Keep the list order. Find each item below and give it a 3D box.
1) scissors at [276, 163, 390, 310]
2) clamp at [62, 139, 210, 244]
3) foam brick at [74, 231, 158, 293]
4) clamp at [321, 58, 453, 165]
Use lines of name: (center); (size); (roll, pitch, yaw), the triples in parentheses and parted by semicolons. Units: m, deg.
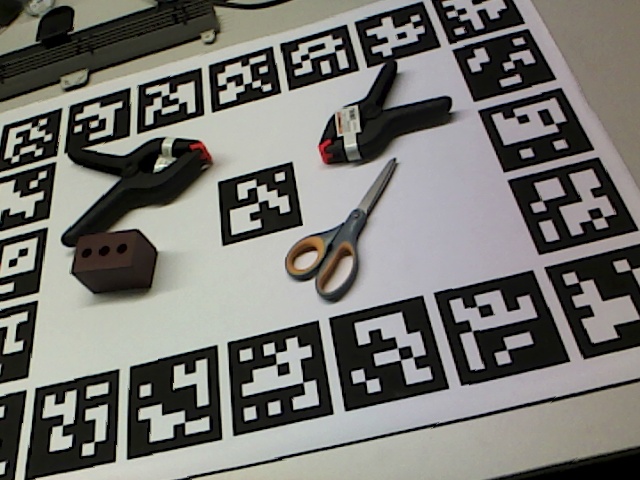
scissors: (0.028, -0.016, 0.717); (0.088, 0.016, 0.202); (26, 68, 20)
clamp: (-0.248, -0.087, 0.833); (0.203, 0.036, 0.166); (-16, 53, 5)
foam brick: (-0.249, 0.028, 0.756); (0.078, 0.051, 0.053); (-9, 59, 16)
clamp: (0.069, -0.152, 0.786); (0.165, 0.036, 0.122); (-37, 64, -7)
